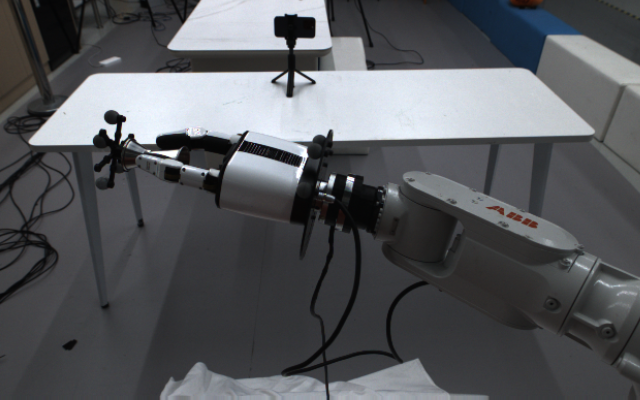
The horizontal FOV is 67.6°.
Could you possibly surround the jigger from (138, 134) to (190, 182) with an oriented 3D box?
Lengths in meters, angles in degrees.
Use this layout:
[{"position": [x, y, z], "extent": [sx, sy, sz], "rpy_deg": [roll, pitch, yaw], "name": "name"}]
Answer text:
[{"position": [-0.191, -0.051, 0.586], "extent": [0.071, 0.043, 0.043], "rpy_deg": [10, 35, 2], "name": "jigger"}]
